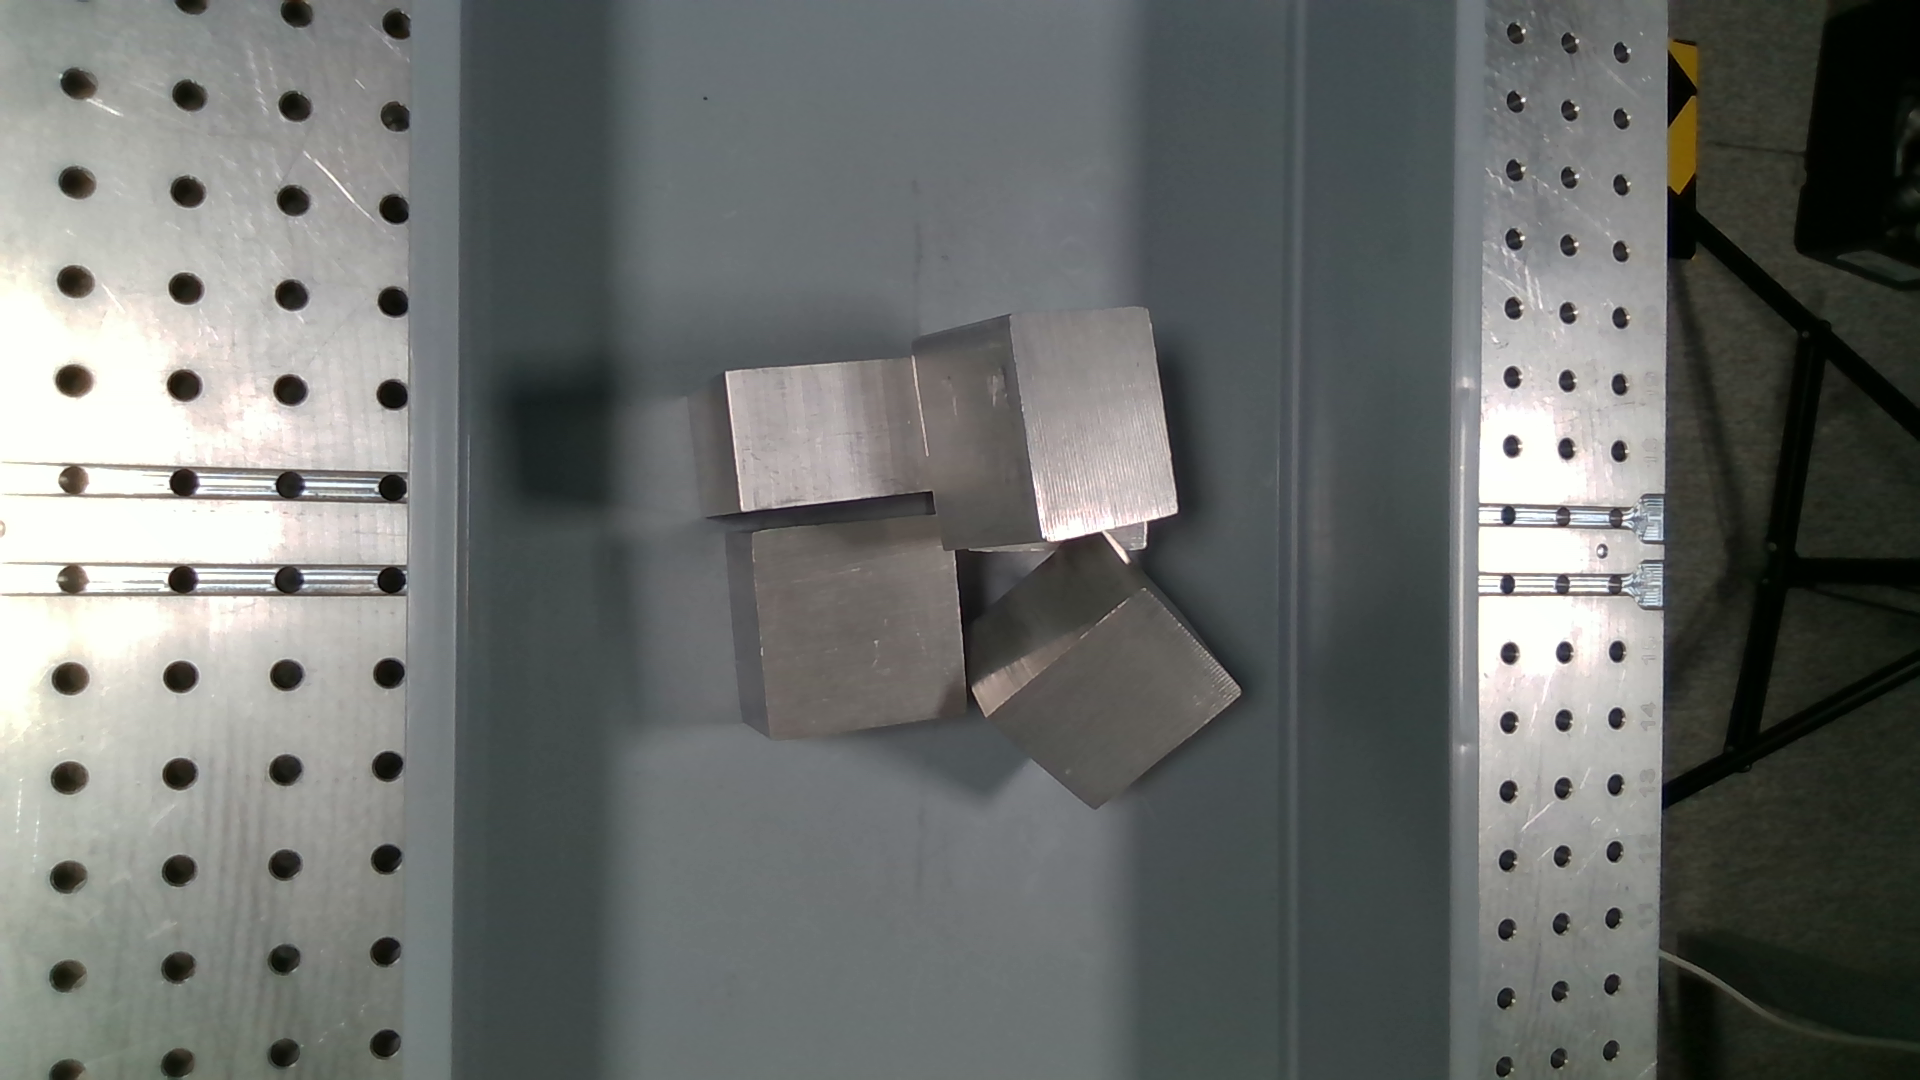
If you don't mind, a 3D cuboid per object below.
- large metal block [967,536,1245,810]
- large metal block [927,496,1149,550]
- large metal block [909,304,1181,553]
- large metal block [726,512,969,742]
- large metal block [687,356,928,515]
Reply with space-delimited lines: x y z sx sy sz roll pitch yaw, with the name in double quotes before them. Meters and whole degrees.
"large metal block" 0.055 0.052 0.565 0.080 0.050 0.080 -41 126 8
"large metal block" 0.032 -0.036 0.583 0.080 0.050 0.080 -1 91 -20
"large metal block" 0.033 -0.042 0.514 0.080 0.050 0.080 -12 94 -45
"large metal block" -0.046 0.032 0.552 0.080 0.050 0.080 -6 92 -20
"large metal block" -0.056 -0.040 0.534 0.080 0.080 0.050 -7 92 -20
